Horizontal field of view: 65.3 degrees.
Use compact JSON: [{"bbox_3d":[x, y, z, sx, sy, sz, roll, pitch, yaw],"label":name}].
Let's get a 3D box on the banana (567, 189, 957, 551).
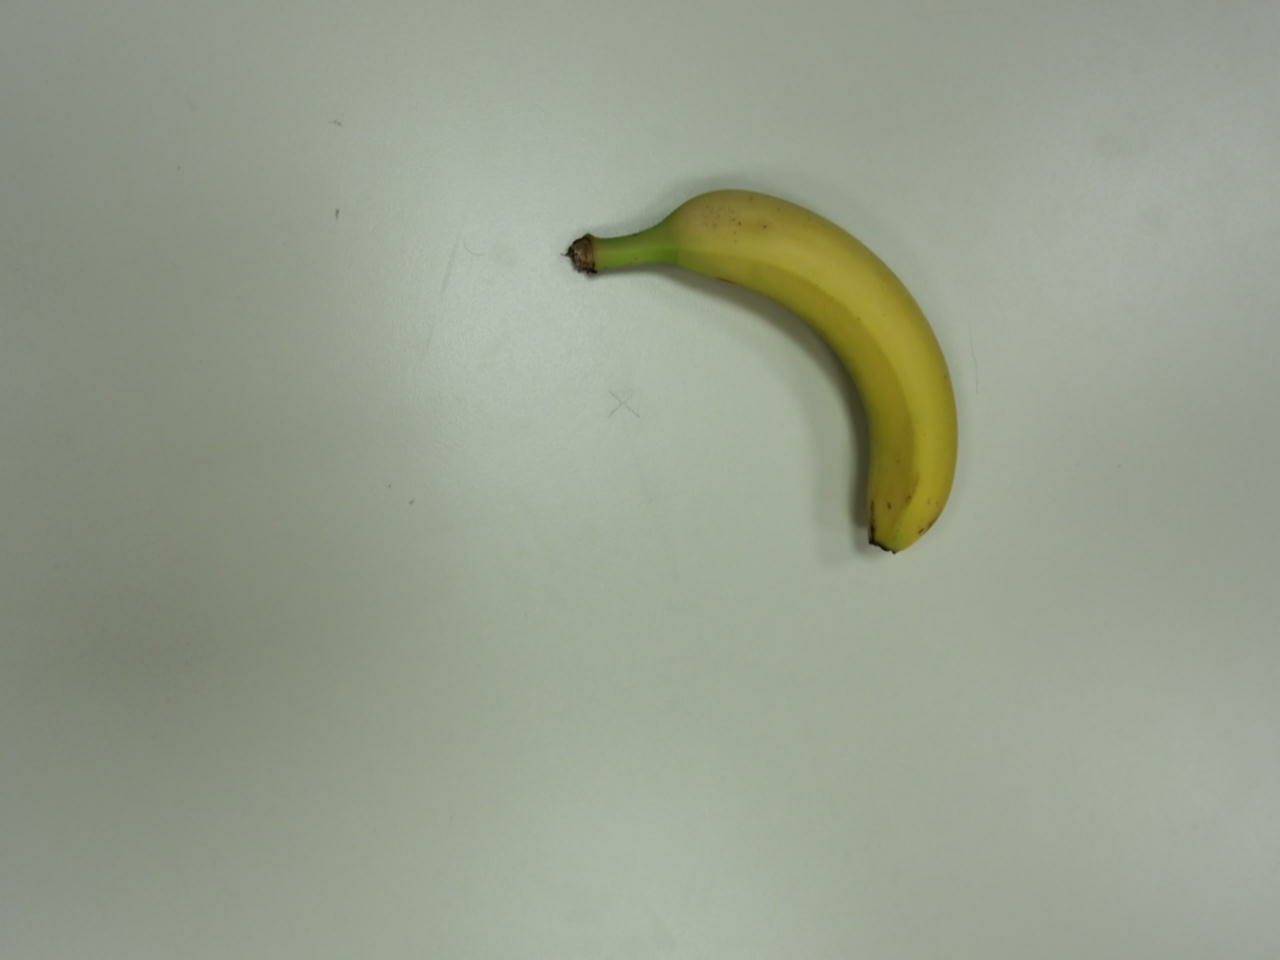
[{"bbox_3d":[0.072,-0.064,0.434,0.196,0.041,0.094,44,82,-8],"label":"banana"}]
